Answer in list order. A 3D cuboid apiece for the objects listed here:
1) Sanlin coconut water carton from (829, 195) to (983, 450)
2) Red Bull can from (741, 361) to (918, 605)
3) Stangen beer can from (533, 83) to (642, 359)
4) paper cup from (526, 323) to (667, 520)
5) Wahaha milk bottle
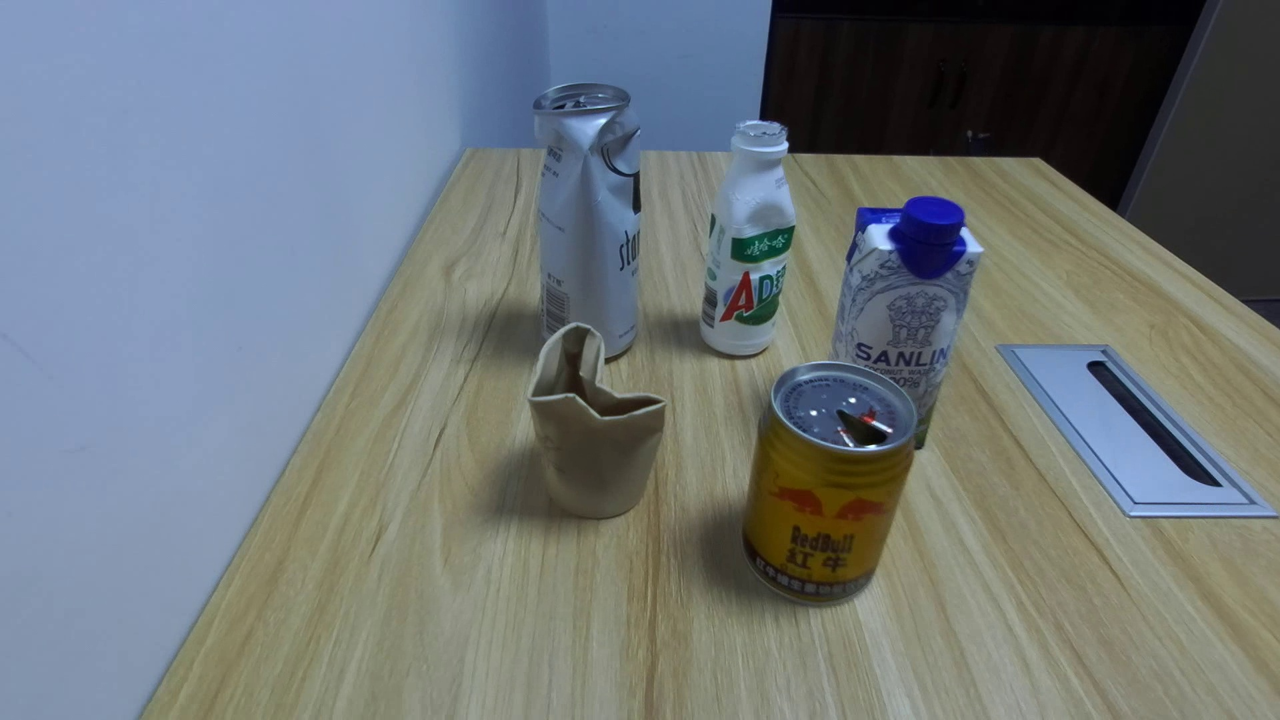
[{"bbox_3d":[0.139,-0.021,0.382,0.060,0.144,0.060,1,34,2],"label":"Sanlin coconut water carton"},{"bbox_3d":[0.085,0.060,0.325,0.067,0.093,0.067,4,31,-2],"label":"Red Bull can"},{"bbox_3d":[-0.033,-0.080,0.442,0.065,0.166,0.066,22,41,28],"label":"Stangen beer can"},{"bbox_3d":[-0.018,0.033,0.350,0.058,0.083,0.066,6,38,3],"label":"paper cup"},{"bbox_3d":[0.069,-0.076,0.451,0.055,0.149,0.055,1,33,0],"label":"Wahaha milk bottle"}]
